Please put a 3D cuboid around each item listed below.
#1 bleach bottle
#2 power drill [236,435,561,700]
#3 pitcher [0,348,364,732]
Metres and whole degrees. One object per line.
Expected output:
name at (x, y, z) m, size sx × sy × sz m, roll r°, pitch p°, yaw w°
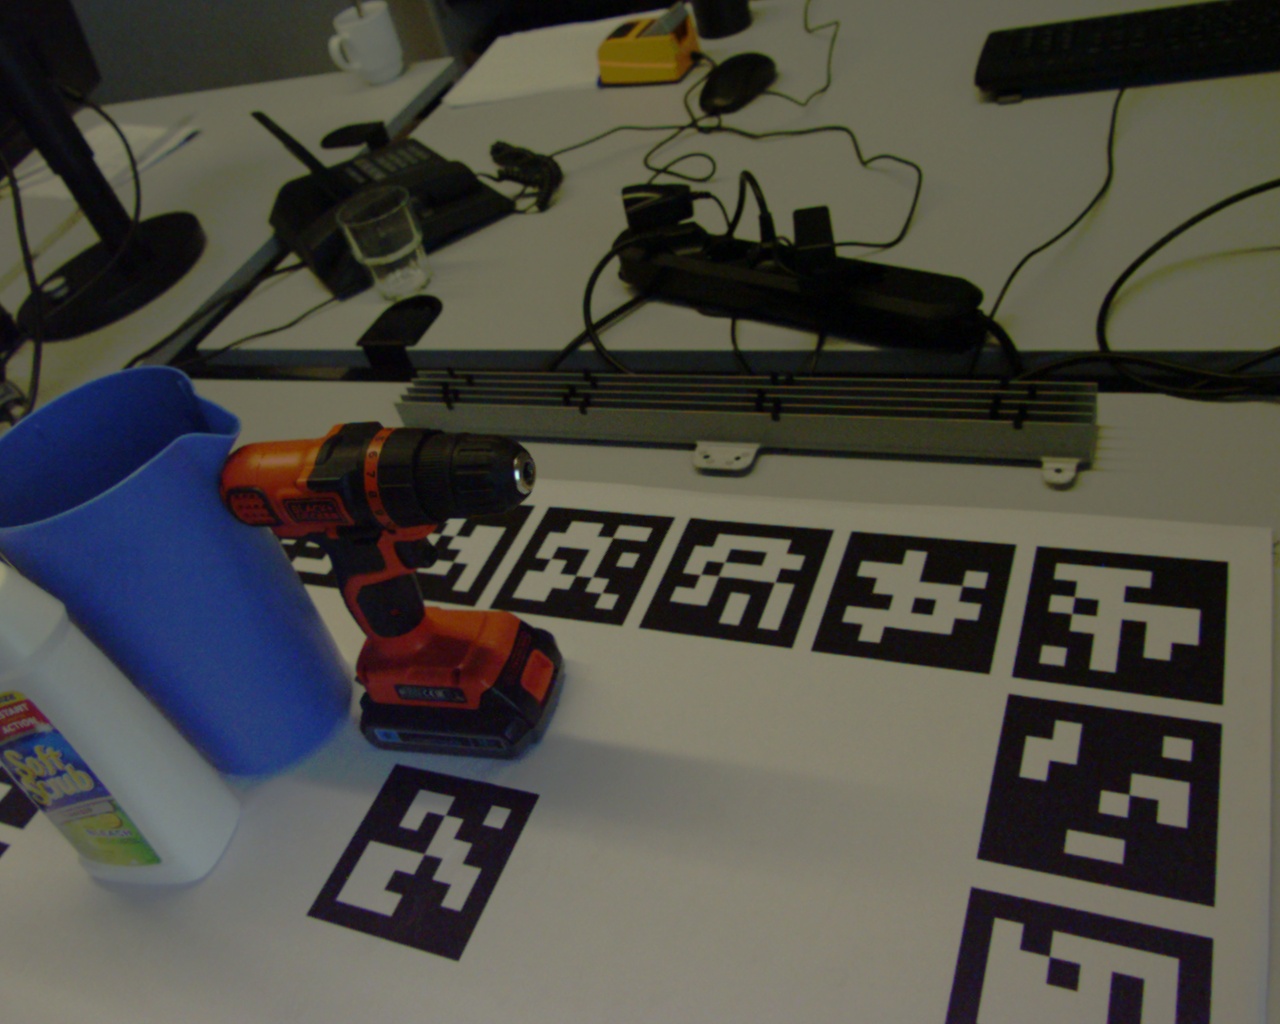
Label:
bleach bottle at (-0.327, 0.090, 0.636) m, size 0.103 × 0.248 × 0.068 m, roll -3°, pitch 44°, yaw 20°
power drill at (-0.118, 0.034, 0.654) m, size 0.186 × 0.185 × 0.057 m, roll 3°, pitch 49°, yaw 17°
pitcher at (-0.280, 0.033, 0.708) m, size 0.189 × 0.240 × 0.134 m, roll -16°, pitch 42°, yaw 6°
